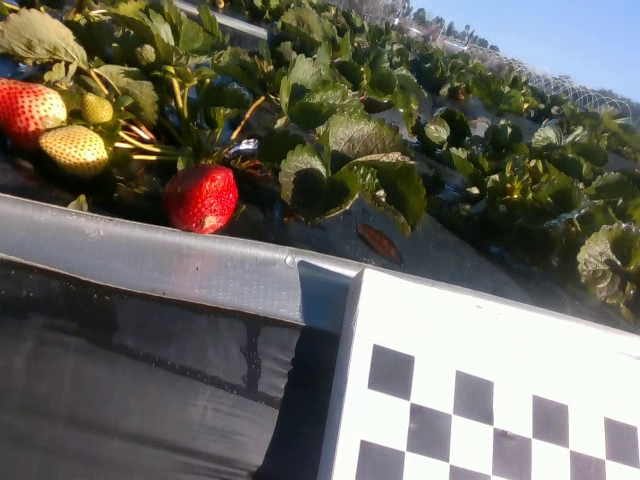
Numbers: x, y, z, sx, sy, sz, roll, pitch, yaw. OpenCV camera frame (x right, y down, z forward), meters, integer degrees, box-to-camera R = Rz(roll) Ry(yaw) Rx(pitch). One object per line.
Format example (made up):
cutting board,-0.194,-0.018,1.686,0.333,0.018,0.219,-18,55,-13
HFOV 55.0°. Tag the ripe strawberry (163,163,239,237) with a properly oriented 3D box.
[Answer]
ripe strawberry,-0.050,-0.020,0.255,0.036,0.038,0.045,15,-15,-11
